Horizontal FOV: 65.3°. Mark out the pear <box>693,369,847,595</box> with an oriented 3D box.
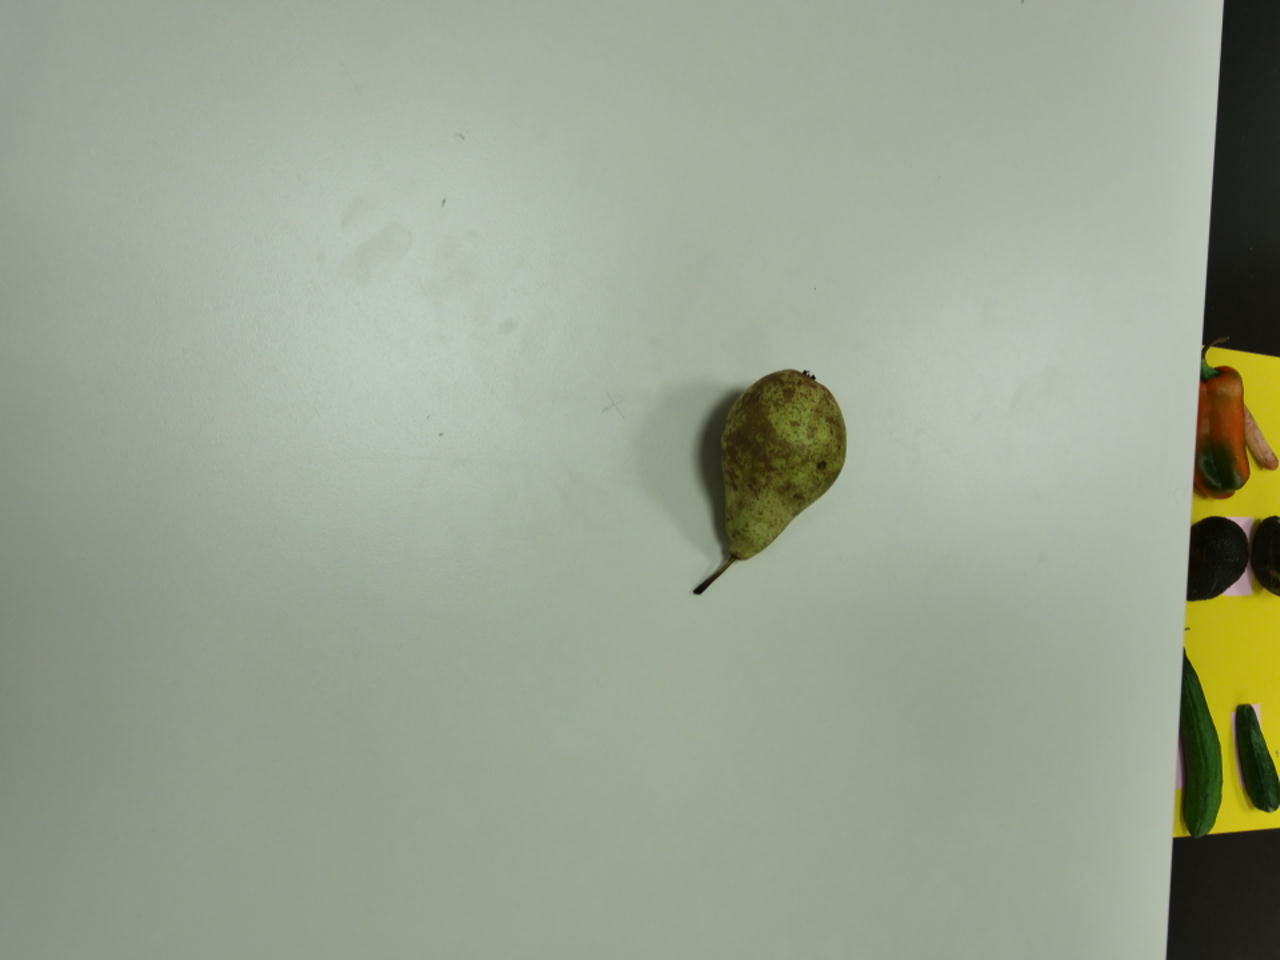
[{"bbox_3d":[0.081,0.001,0.572,0.071,0.075,0.128,-2,92,-22],"label":"pear"}]
